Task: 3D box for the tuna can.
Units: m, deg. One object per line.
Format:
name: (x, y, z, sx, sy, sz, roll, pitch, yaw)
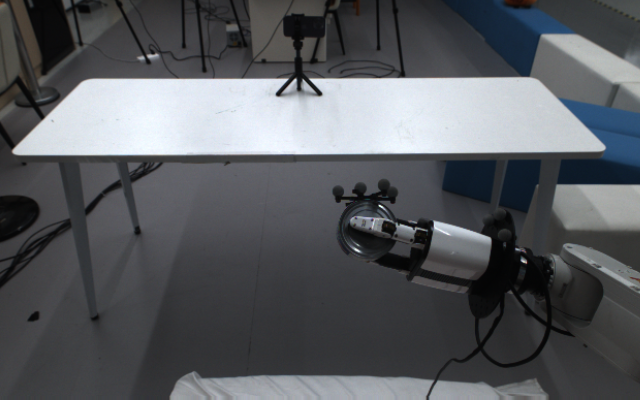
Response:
tuna can: (0.068, 0.042, 0.688, 0.085, 0.034, 0.085, 1, 70, -3)
